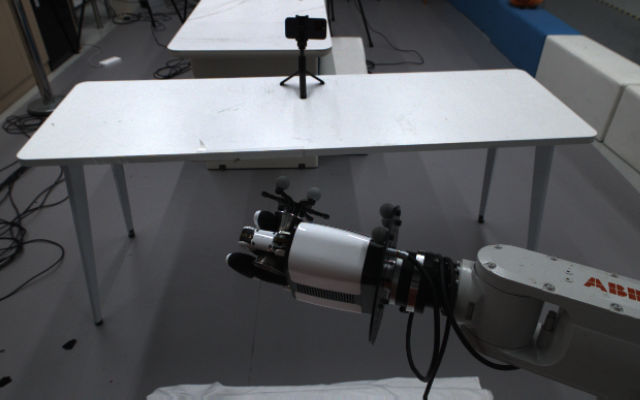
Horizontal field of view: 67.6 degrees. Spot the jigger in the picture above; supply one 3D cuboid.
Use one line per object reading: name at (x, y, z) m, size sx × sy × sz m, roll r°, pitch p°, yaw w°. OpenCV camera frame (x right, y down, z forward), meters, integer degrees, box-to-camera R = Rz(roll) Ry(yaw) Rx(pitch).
jigger at (-0.046, 0.051, 0.579) m, size 0.043 × 0.043 × 0.071 m, roll 15°, pitch 71°, yaw 18°
